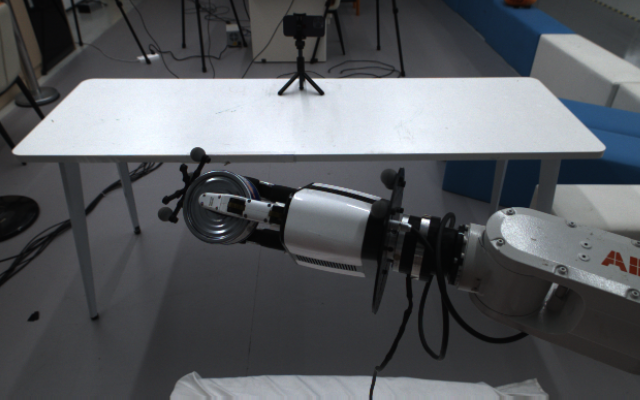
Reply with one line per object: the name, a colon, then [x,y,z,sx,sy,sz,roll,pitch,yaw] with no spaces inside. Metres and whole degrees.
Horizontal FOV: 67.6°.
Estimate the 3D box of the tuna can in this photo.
tuna can: [-0.109,0.012,0.554,0.085,0.085,0.034,9,-4,10]
